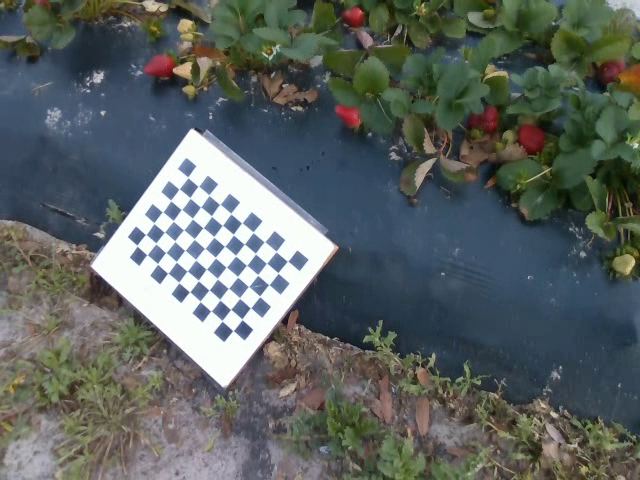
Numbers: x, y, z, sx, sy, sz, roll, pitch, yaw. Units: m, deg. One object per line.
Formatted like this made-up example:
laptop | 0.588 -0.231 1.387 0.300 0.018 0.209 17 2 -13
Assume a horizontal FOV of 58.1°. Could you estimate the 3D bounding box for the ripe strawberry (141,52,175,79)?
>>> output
ripe strawberry | -0.264 -0.283 0.942 0.050 0.034 0.059 28 46 13
